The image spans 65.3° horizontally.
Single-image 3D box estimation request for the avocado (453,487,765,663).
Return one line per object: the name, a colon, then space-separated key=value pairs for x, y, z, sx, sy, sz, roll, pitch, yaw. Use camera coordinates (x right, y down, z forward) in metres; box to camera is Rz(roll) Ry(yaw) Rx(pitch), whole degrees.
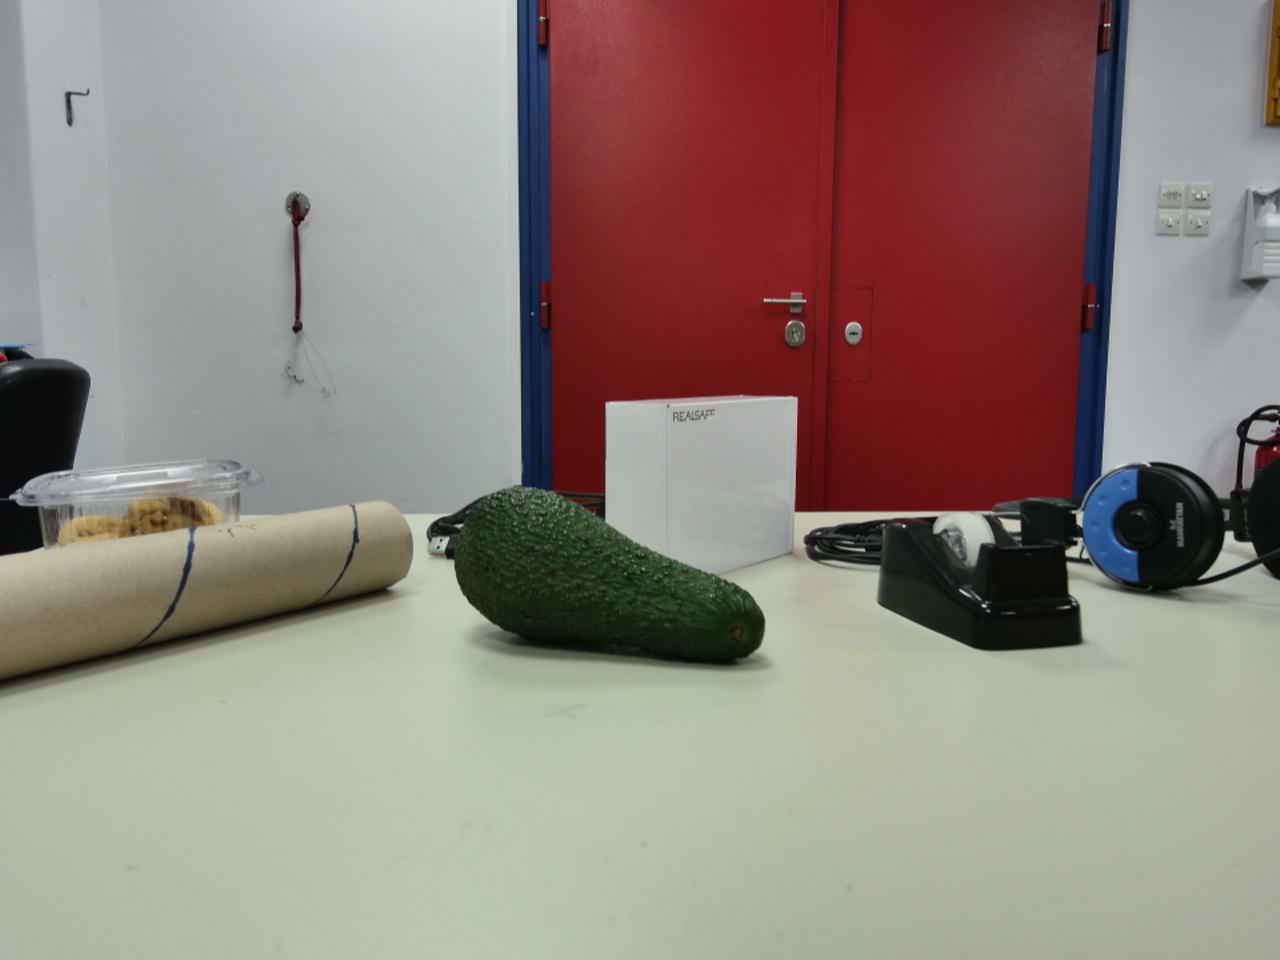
avocado: x=-0.014 y=0.037 z=0.423 sx=0.141 sy=0.067 sz=0.063 roll=1 pitch=4 yaw=15
